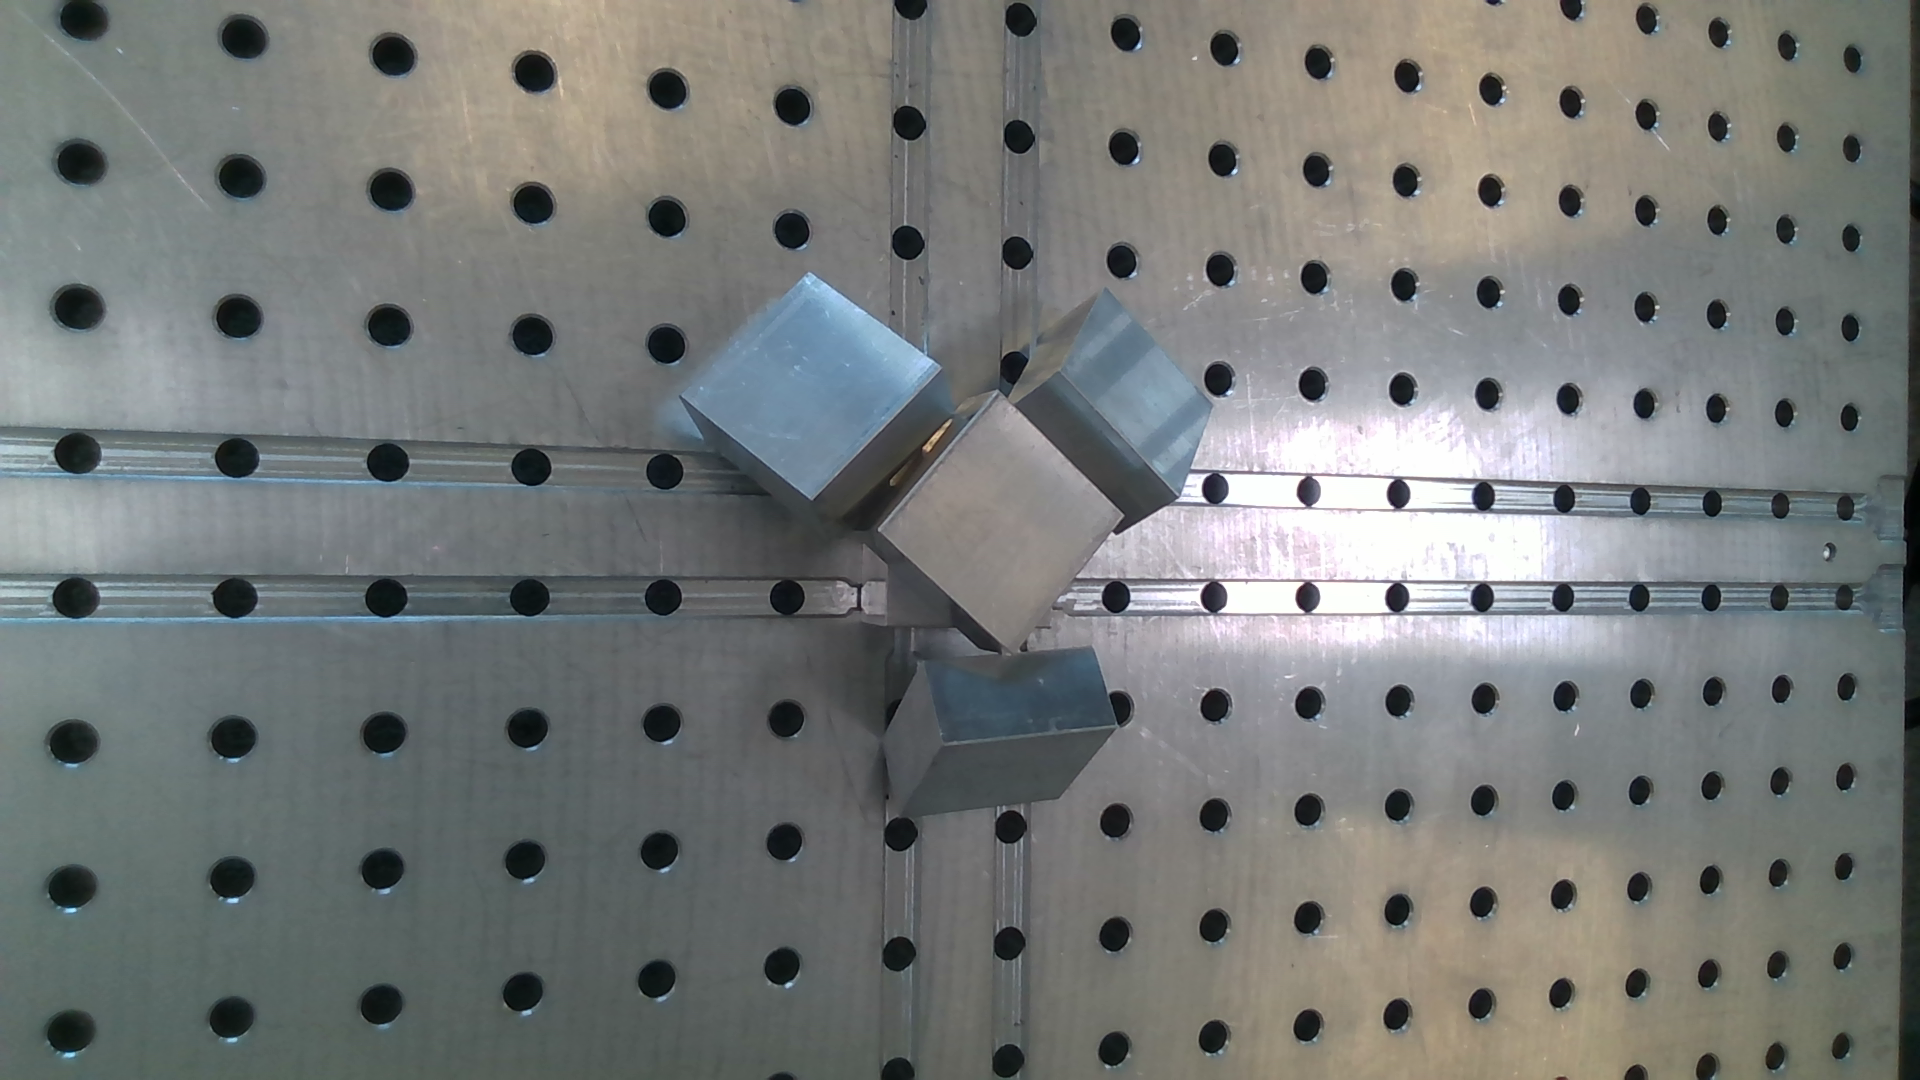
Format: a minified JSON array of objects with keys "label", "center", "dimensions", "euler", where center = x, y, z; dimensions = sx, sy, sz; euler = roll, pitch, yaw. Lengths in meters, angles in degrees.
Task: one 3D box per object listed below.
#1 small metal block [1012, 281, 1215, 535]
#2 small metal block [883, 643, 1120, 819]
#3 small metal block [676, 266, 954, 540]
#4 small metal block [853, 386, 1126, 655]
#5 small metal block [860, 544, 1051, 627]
[{"label":"small metal block","center":[0.044,-0.039,0.399],"dimensions":[0.050,0.025,0.050],"euler":[45,40,-15]},{"label":"small metal block","center":[0.010,0.054,0.384],"dimensions":[0.050,0.050,0.025],"euler":[-3,58,-20]},{"label":"small metal block","center":[-0.038,-0.037,0.369],"dimensions":[0.050,0.025,0.050],"euler":[37,75,22]},{"label":"small metal block","center":[0.008,-0.005,0.372],"dimensions":[0.050,0.025,0.050],"euler":[43,77,-16]},{"label":"small metal block","center":[-0.001,-0.001,0.396],"dimensions":[0.050,0.025,0.050],"euler":[1,90,-18]}]
